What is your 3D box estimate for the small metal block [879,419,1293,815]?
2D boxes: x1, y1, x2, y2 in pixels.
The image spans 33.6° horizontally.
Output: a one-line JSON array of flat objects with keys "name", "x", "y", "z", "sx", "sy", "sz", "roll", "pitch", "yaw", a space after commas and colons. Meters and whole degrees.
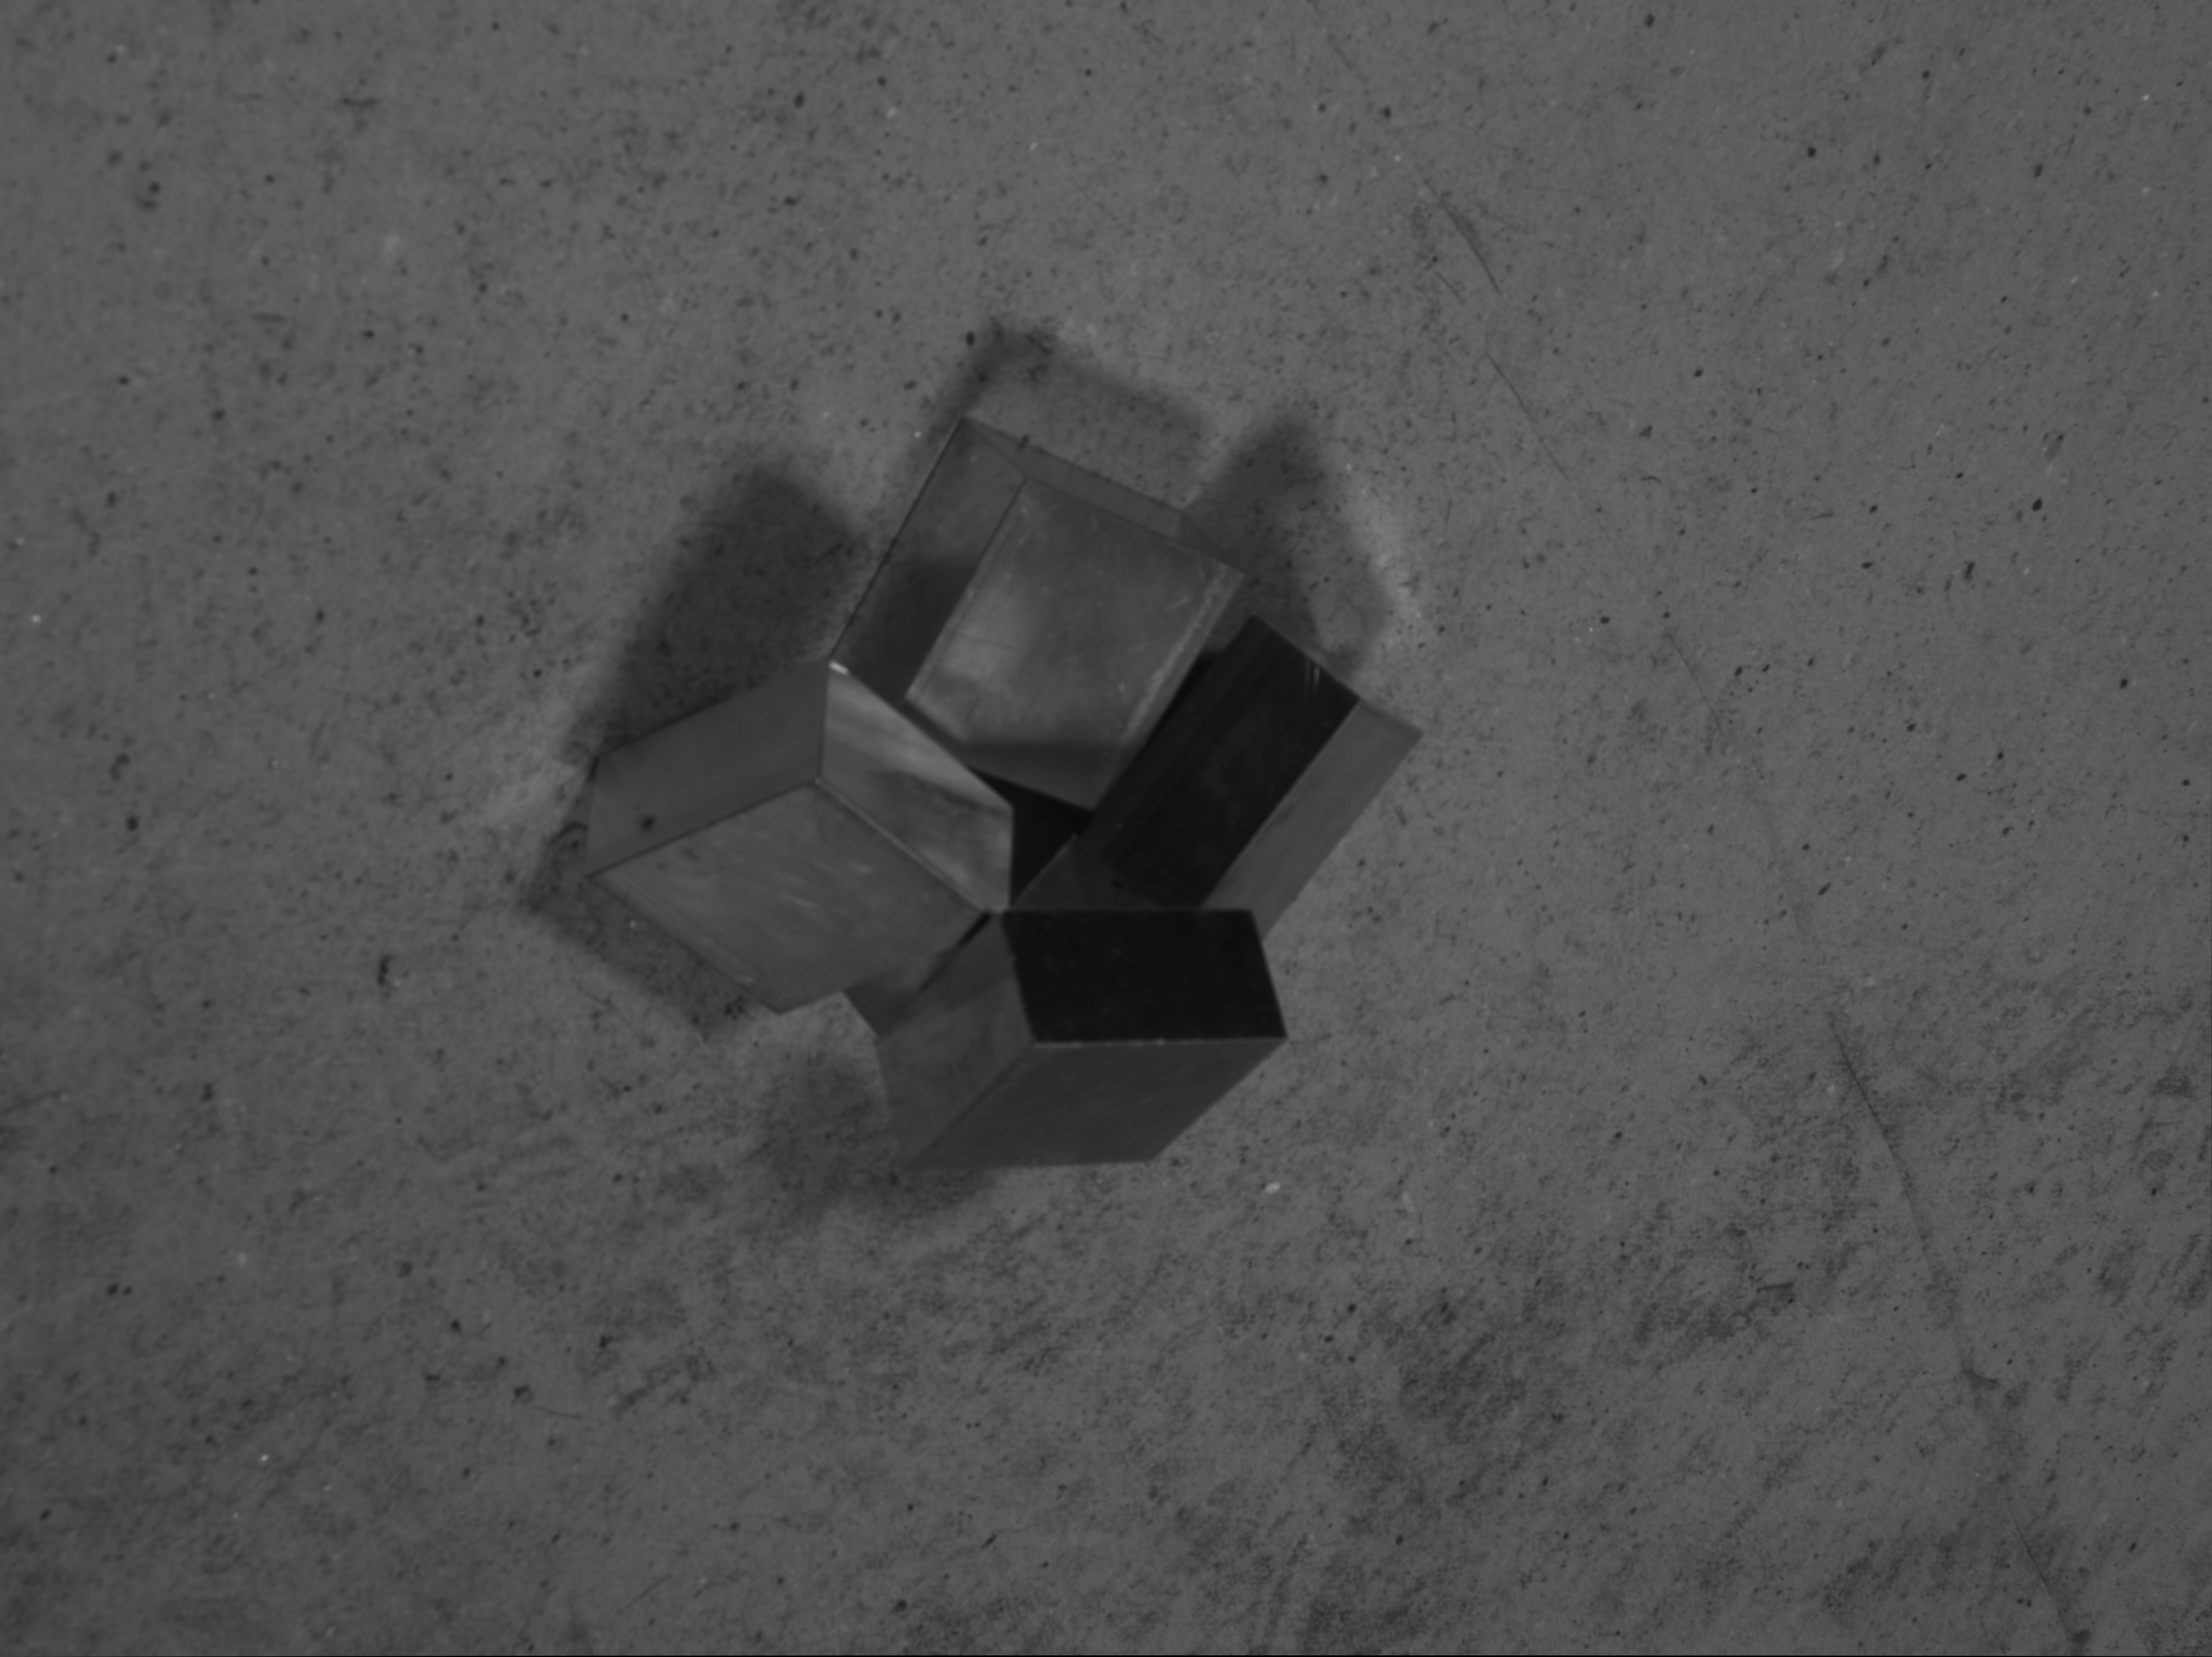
[{"name": "small metal block", "x": -0.005, "y": -0.035, "z": 0.627, "sx": 0.050, "sy": 0.025, "sz": 0.050, "roll": 19, "pitch": 107, "yaw": -37}]

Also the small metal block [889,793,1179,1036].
[{"name": "small metal block", "x": -0.005, "y": 0.026, "z": 0.665, "sx": 0.050, "sy": 0.025, "sz": 0.050, "roll": -48, "pitch": 130, "yaw": 4}]

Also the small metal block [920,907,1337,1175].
[{"name": "small metal block", "x": 0.003, "y": 0.036, "z": 0.628, "sx": 0.050, "sy": 0.025, "sz": 0.050, "roll": 0, "pitch": 150, "yaw": -30}]

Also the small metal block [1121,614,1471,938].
[{"name": "small metal block", "x": 0.035, "y": -0.007, "z": 0.652, "sx": 0.050, "sy": 0.025, "sz": 0.050, "roll": -52, "pitch": 163, "yaw": 7}]

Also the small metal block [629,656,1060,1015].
[{"name": "small metal block", "x": -0.043, "y": 0.002, "z": 0.612, "sx": 0.050, "sy": 0.025, "sz": 0.050, "roll": -21, "pitch": 139, "yaw": 29}]
